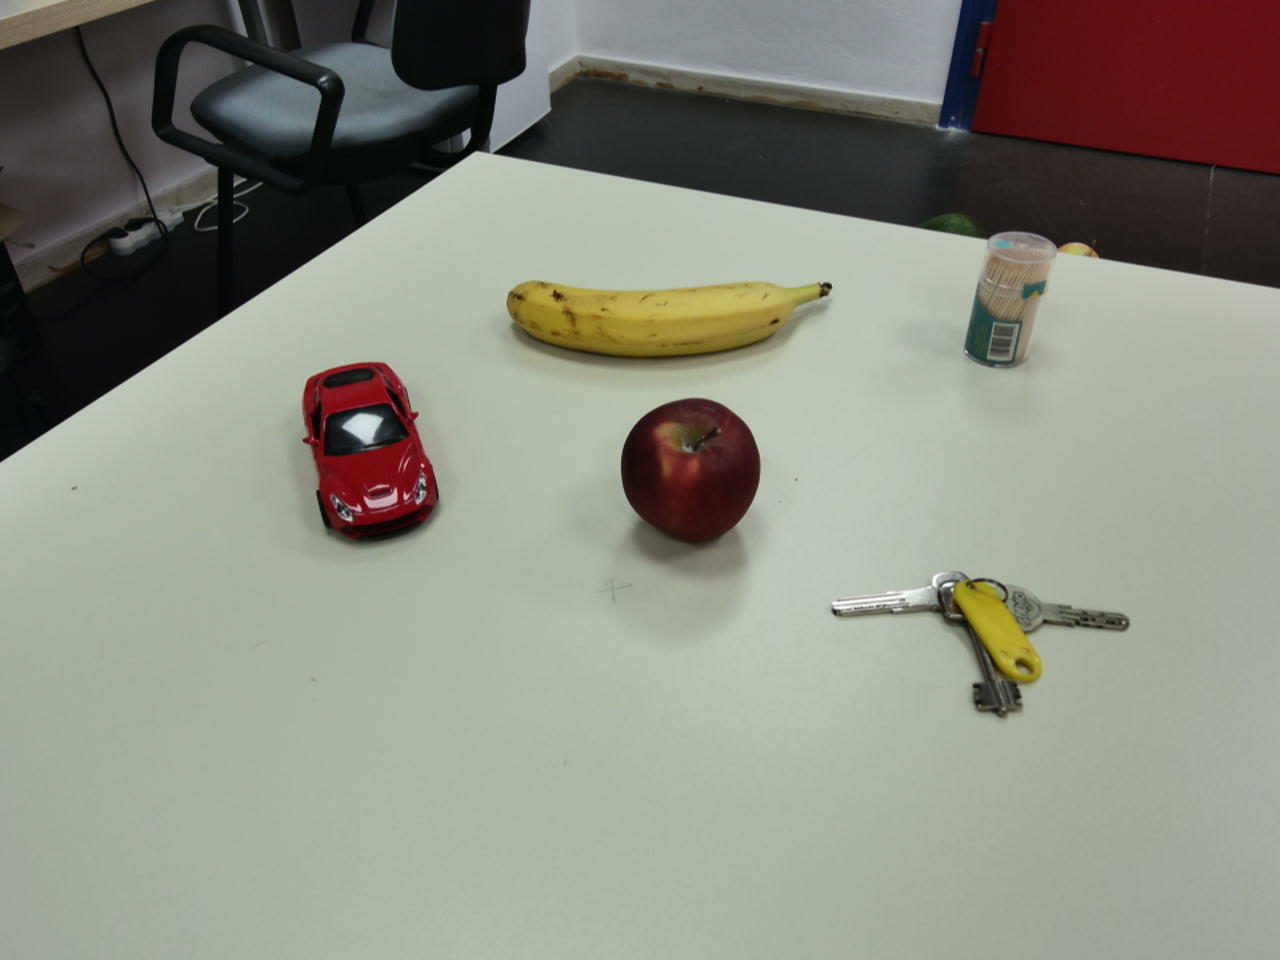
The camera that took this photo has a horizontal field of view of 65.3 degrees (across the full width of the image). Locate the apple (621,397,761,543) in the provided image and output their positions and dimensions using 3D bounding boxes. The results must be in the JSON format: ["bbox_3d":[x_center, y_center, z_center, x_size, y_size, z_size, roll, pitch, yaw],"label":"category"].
[{"bbox_3d":[0.025,-0.004,0.492,0.070,0.072,0.070,0,38,0],"label":"apple"}]
